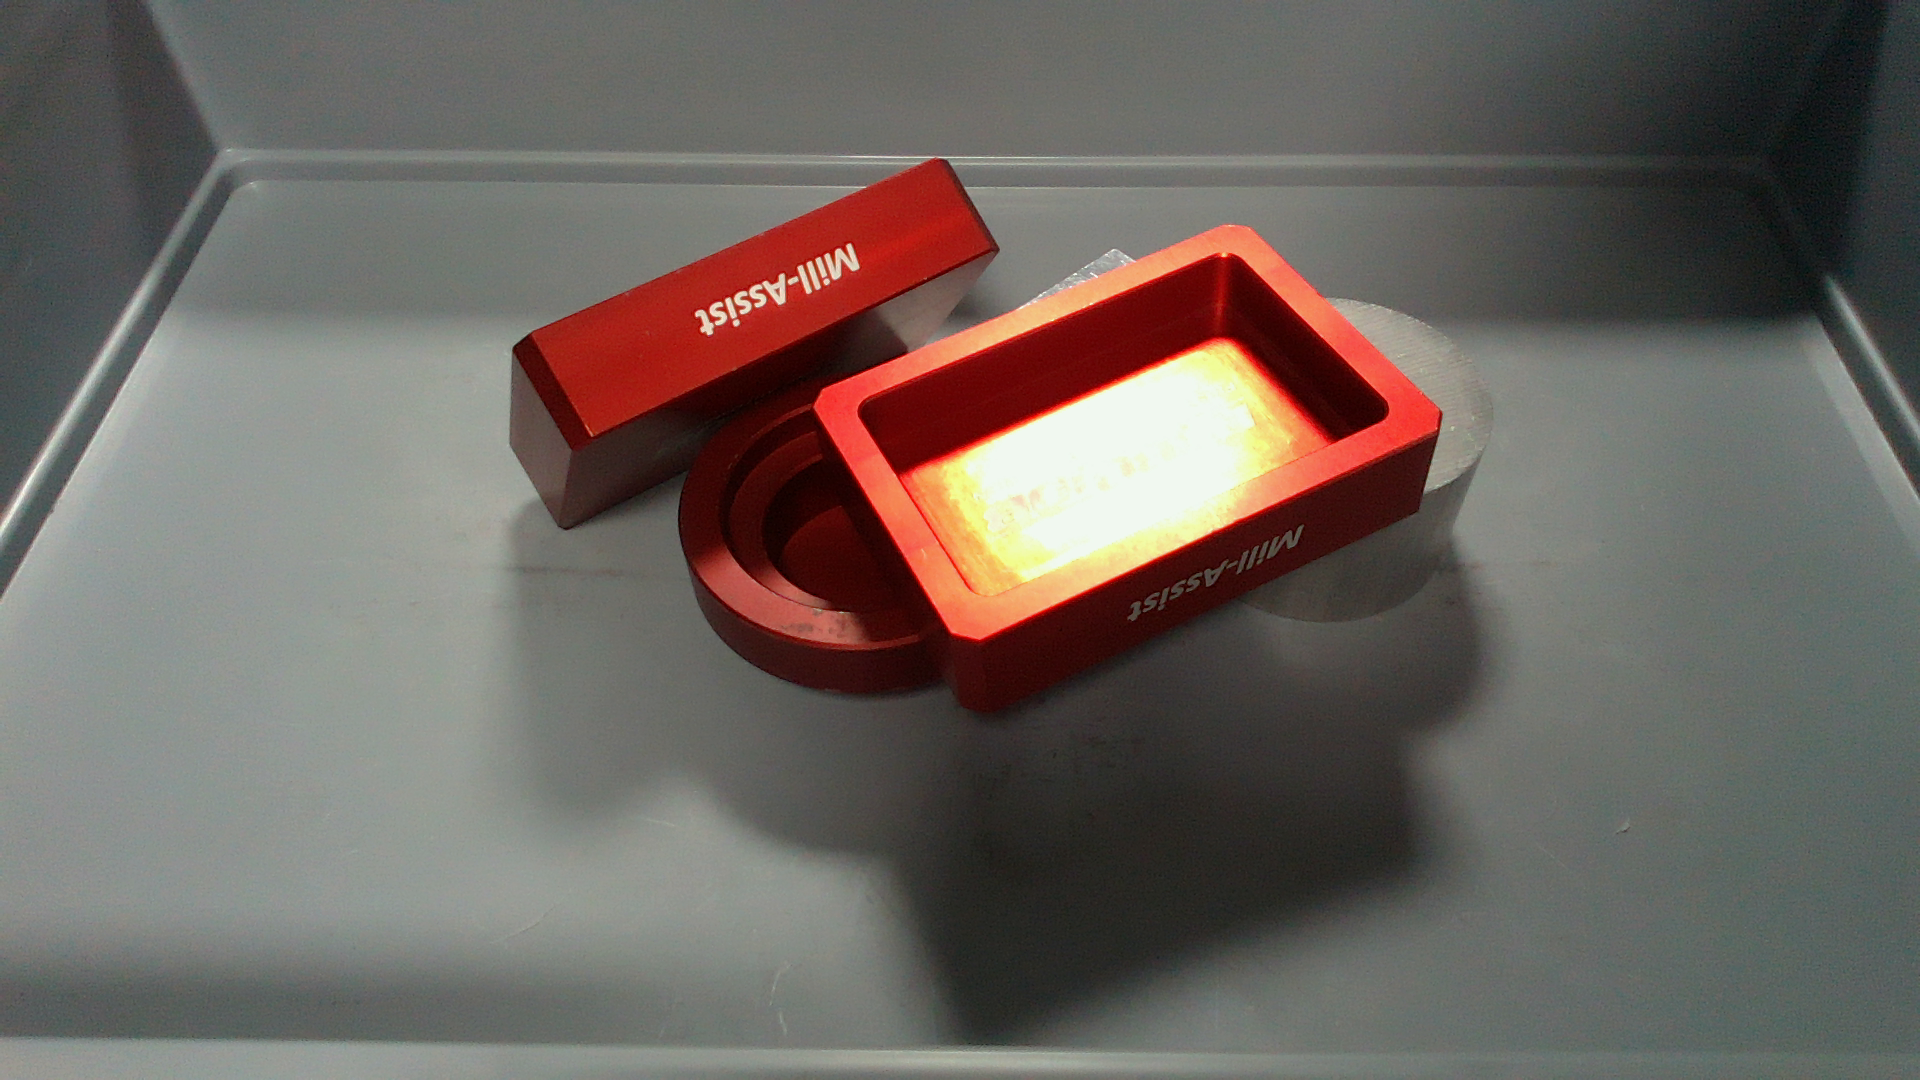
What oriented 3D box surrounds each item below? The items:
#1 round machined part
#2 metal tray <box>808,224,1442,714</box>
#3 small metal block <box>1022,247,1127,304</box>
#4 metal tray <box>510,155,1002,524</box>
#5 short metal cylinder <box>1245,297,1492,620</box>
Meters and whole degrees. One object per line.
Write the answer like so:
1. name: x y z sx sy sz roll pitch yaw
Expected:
1. round machined part: -0.026 0.003 0.378 0.098 0.042 0.098 0 50 0
2. metal tray: 0.039 -0.023 0.344 0.130 0.030 0.090 -24 53 -13
3. small metal block: 0.037 -0.053 0.417 0.050 0.050 0.025 -35 58 -27
4. metal tray: -0.060 -0.055 0.392 0.130 0.090 0.030 -30 87 -23
5. short metal cylinder: 0.104 -0.024 0.393 0.080 0.050 0.080 0 50 0
